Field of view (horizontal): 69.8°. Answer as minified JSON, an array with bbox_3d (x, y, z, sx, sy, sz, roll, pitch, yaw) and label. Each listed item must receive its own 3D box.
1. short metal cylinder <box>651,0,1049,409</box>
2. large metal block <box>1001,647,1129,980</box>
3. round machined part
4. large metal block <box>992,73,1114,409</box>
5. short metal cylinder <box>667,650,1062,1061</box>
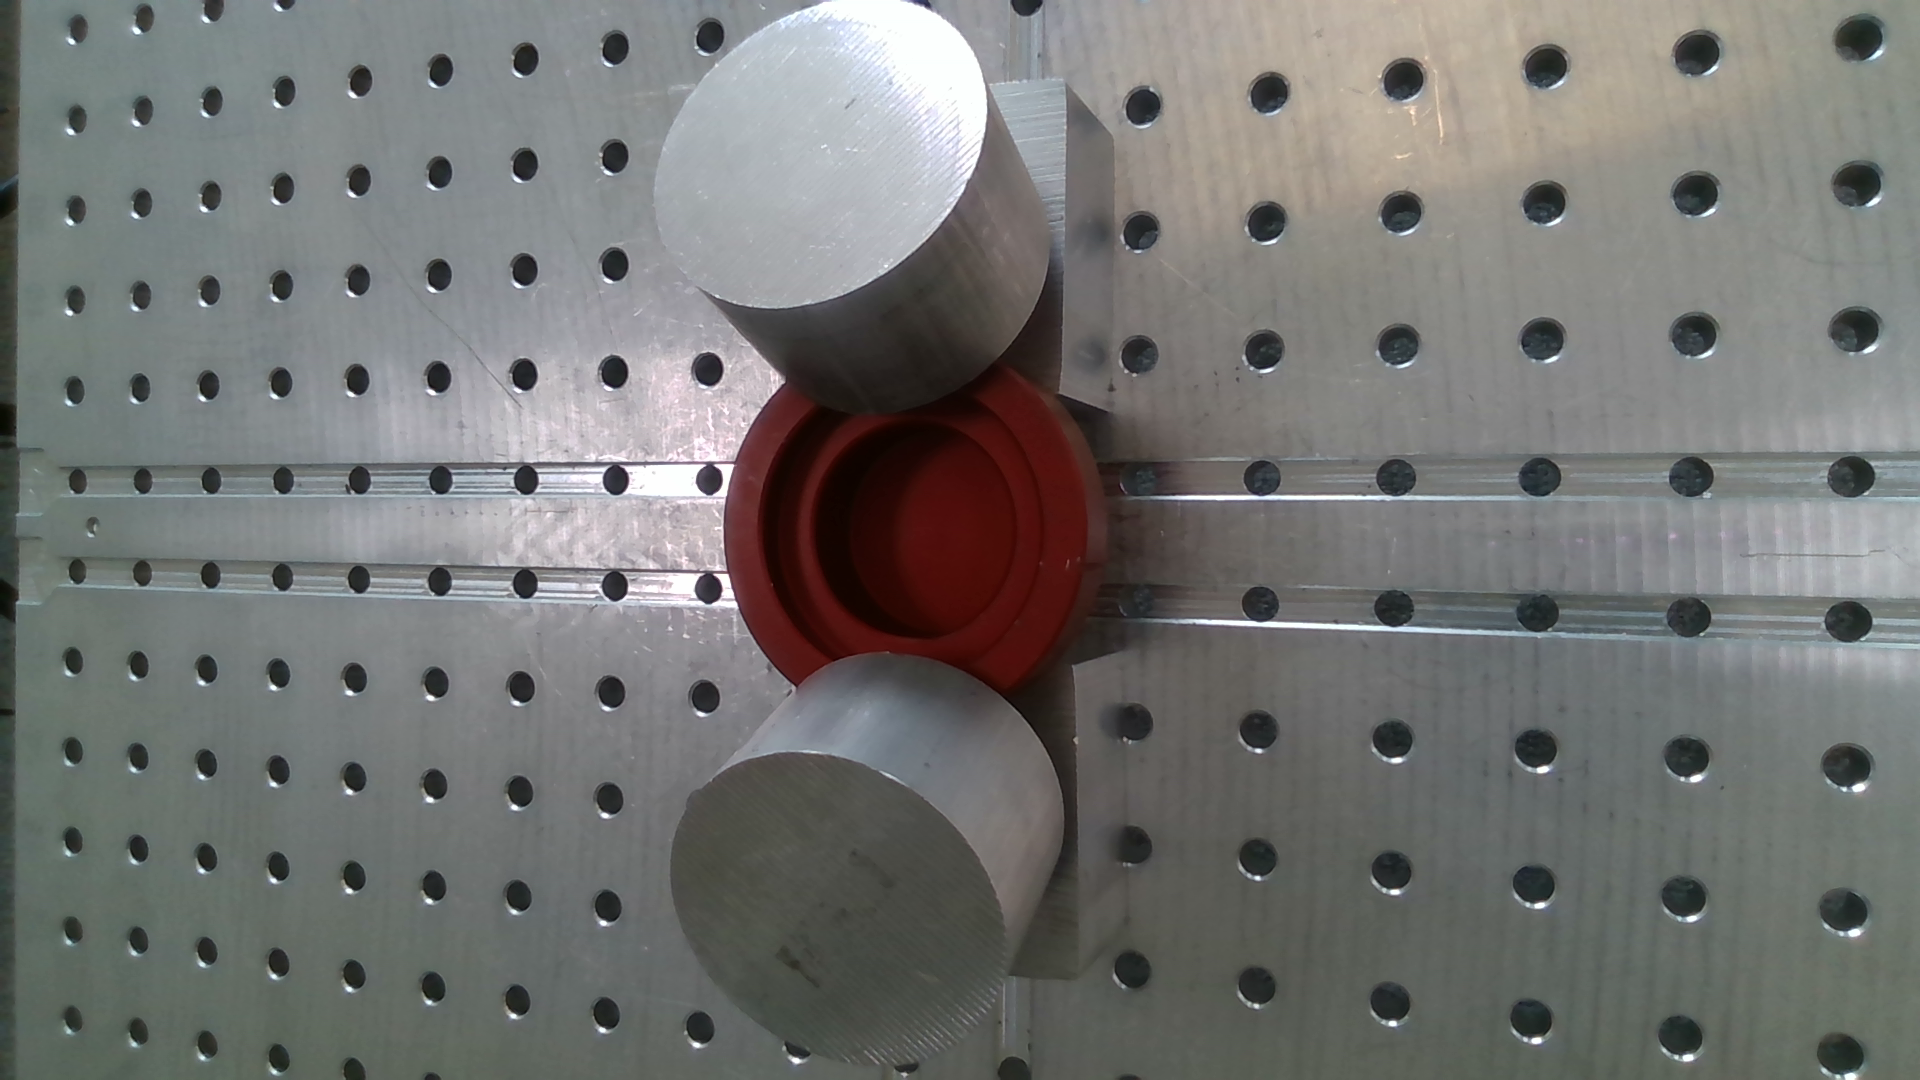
[{"bbox_3d":[-0.024,-0.078,0.325,0.080,0.050,0.080,-8,66,18],"label":"short metal cylinder"},{"bbox_3d":[0.001,0.071,0.383,0.080,0.050,0.080,-1,90,20],"label":"large metal block"},{"bbox_3d":[-0.009,-0.003,0.359,0.098,0.042,0.098,0,90,20],"label":"round machined part"},{"bbox_3d":[-0.003,-0.078,0.383,0.080,0.050,0.080,1,91,20],"label":"large metal block"},{"bbox_3d":[-0.021,0.073,0.324,0.080,0.050,0.080,7,112,17],"label":"short metal cylinder"}]
